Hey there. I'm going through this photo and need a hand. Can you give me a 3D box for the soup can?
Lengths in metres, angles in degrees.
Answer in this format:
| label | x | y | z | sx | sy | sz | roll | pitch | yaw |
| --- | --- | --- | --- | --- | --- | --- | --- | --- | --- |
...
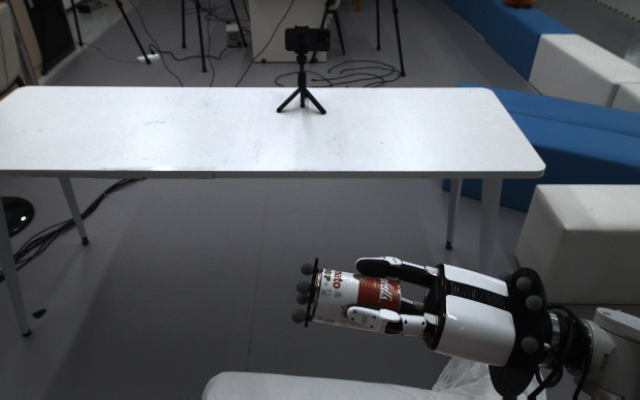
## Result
| label | x | y | z | sx | sy | sz | roll | pitch | yaw |
| --- | --- | --- | --- | --- | --- | --- | --- | --- | --- |
| soup can | 0.047 | 0.125 | 0.603 | 0.101 | 0.067 | 0.067 | 9 | 35 | 0 |
